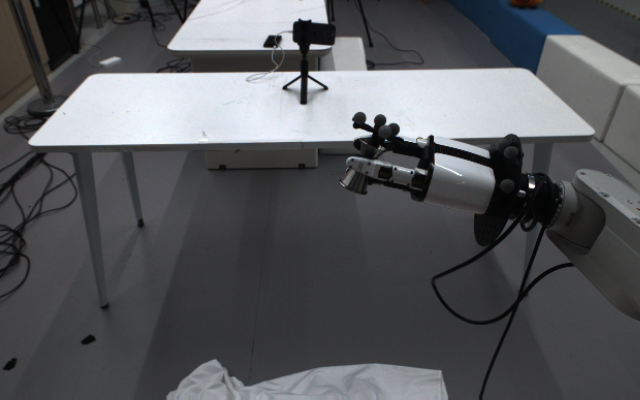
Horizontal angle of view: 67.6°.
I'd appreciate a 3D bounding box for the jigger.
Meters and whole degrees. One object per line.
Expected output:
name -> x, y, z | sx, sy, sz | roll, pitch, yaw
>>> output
jigger -> 0.058, -0.048, 0.671 | 0.043, 0.071, 0.043 | 23, 19, -8
